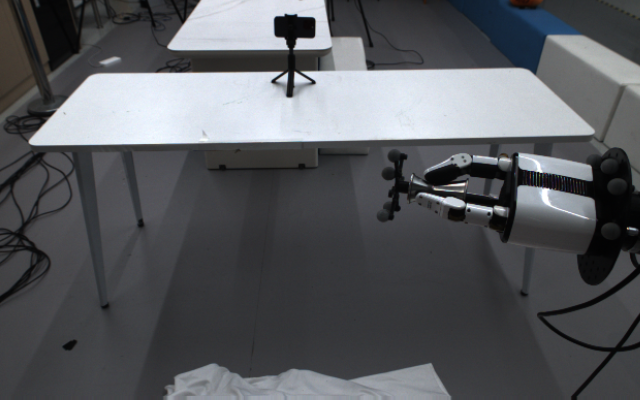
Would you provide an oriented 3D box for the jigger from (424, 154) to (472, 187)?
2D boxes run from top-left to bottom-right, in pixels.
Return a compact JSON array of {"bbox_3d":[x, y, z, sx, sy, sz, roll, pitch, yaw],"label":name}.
[{"bbox_3d":[0.152,-0.013,0.600,0.071,0.043,0.043,9,35,17],"label":"jigger"}]
